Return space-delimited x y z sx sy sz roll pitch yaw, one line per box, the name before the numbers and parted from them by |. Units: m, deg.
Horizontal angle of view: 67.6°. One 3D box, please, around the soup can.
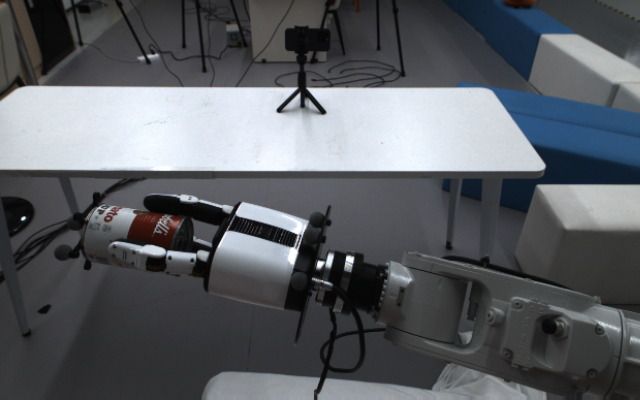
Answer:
soup can | -0.200 0.045 0.543 0.101 0.067 0.067 9 35 2
